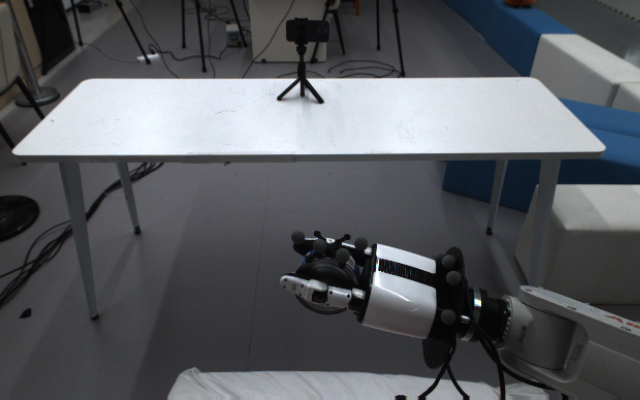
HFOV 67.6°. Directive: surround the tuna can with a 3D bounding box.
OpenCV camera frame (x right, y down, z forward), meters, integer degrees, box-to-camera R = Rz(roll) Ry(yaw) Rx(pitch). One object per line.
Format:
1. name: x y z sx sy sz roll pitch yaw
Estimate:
1. tuna can: 0.012 0.104 0.628 0.085 0.085 0.034 6 22 6
